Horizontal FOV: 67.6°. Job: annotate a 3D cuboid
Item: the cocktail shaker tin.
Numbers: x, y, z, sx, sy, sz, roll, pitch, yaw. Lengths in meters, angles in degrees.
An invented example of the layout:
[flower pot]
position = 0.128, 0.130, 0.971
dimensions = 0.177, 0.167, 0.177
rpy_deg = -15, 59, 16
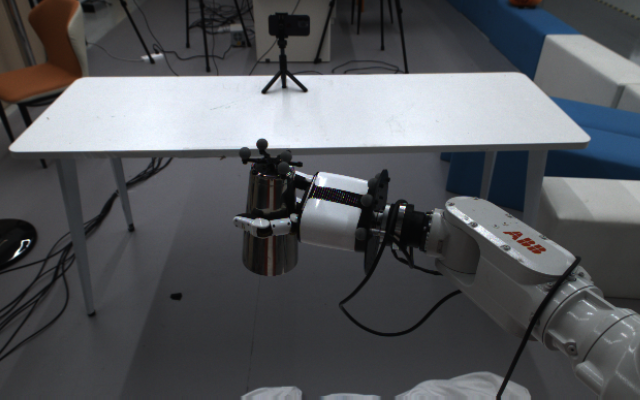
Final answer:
[cocktail shaker tin]
position = -0.076, 0.022, 0.752
dimensions = 0.093, 0.170, 0.093
rpy_deg = 3, 32, -2
